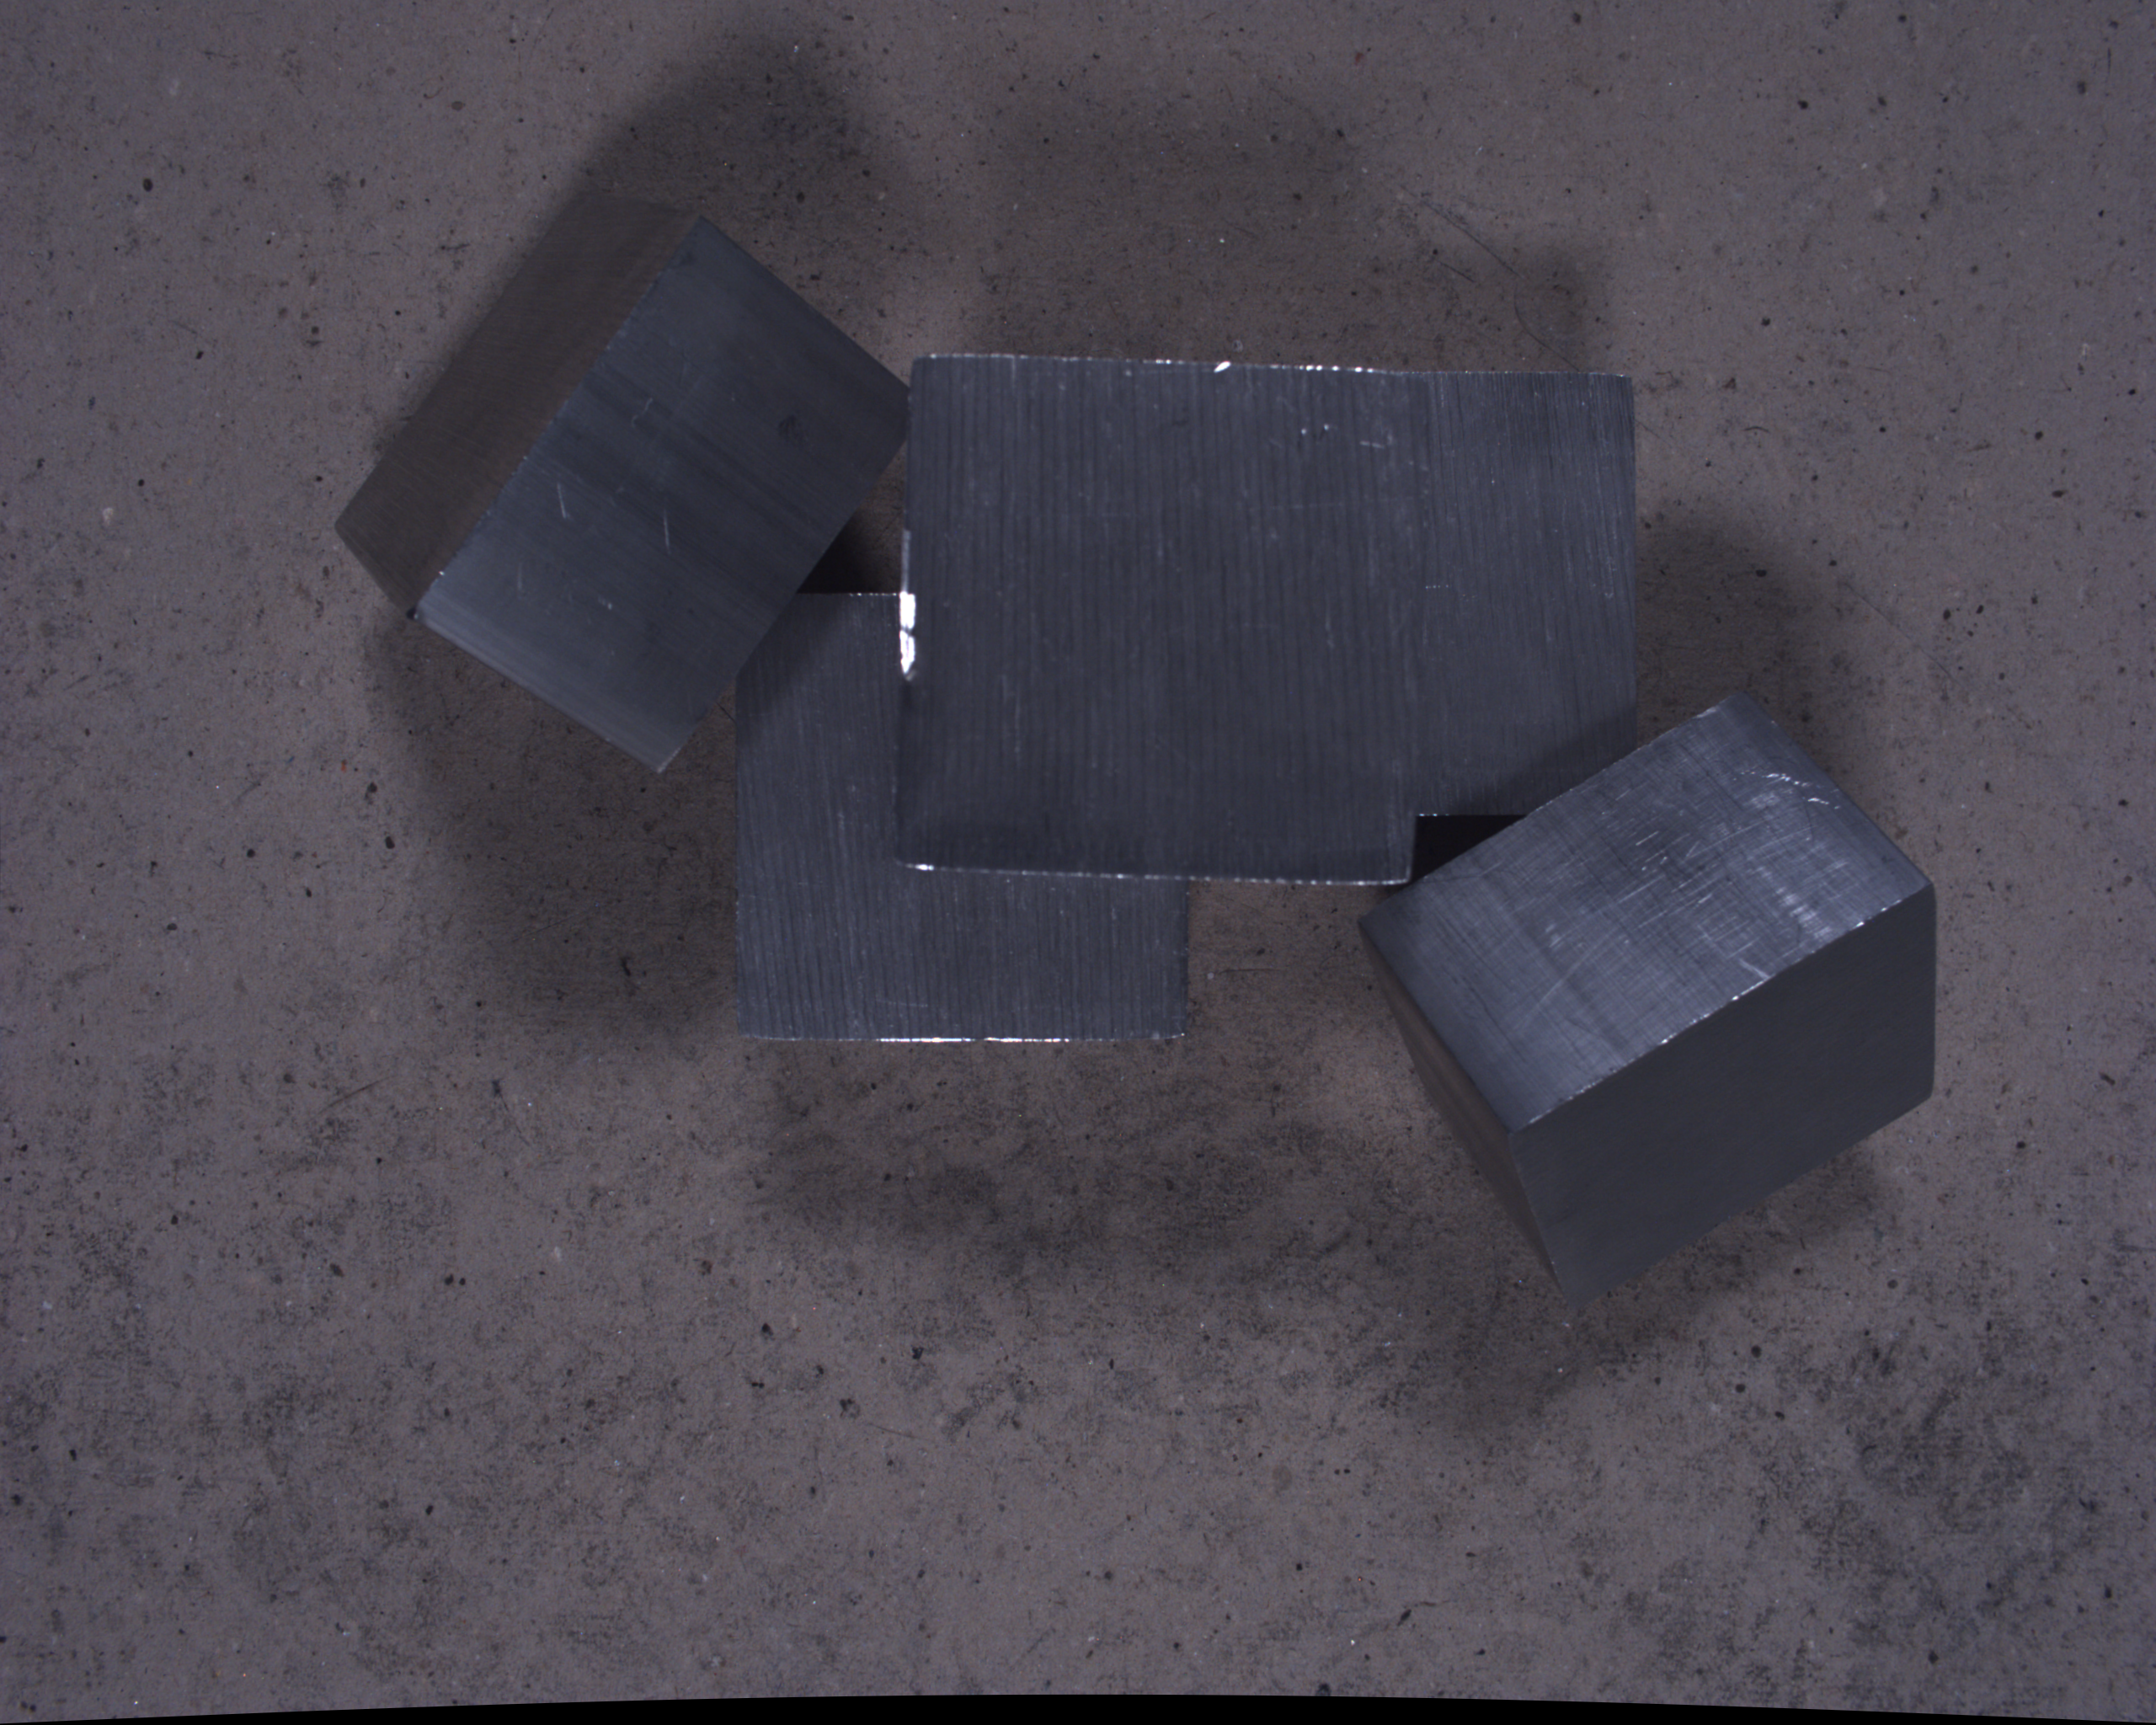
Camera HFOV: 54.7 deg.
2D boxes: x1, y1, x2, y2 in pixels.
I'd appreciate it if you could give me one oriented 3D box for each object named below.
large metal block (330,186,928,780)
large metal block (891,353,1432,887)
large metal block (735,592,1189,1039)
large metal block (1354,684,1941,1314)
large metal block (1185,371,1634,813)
[{"bbox_3d":[-0.083,-0.071,0.376,0.050,0.080,0.080,36,90,-33],"label":"large metal block"},{"bbox_3d":[0.013,-0.038,0.347,0.081,0.050,0.079,2,90,-1],"label":"large metal block"},{"bbox_3d":[-0.021,-0.009,0.396,0.081,0.050,0.079,0,90,-1],"label":"large metal block"},{"bbox_3d":[0.105,0.027,0.378,0.080,0.080,0.050,-31,52,0],"label":"large metal block"},{"bbox_3d":[0.060,-0.049,0.400,0.081,0.050,0.079,0,90,-1],"label":"large metal block"}]
